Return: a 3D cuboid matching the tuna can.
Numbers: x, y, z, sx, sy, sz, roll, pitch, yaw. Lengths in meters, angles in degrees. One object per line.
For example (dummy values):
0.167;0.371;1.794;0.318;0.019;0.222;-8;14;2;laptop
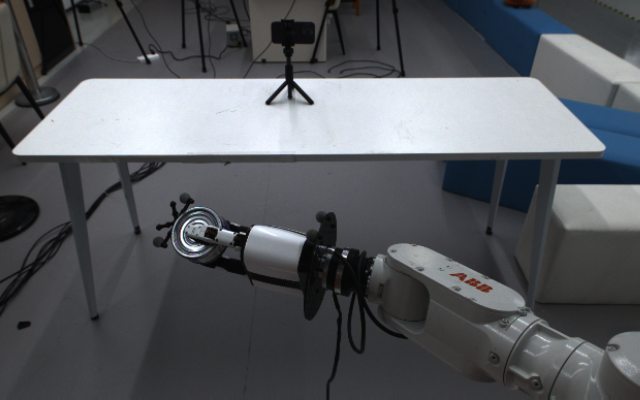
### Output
-0.183;0.053;0.749;0.085;0.034;0.085;-4;71;10;tuna can
